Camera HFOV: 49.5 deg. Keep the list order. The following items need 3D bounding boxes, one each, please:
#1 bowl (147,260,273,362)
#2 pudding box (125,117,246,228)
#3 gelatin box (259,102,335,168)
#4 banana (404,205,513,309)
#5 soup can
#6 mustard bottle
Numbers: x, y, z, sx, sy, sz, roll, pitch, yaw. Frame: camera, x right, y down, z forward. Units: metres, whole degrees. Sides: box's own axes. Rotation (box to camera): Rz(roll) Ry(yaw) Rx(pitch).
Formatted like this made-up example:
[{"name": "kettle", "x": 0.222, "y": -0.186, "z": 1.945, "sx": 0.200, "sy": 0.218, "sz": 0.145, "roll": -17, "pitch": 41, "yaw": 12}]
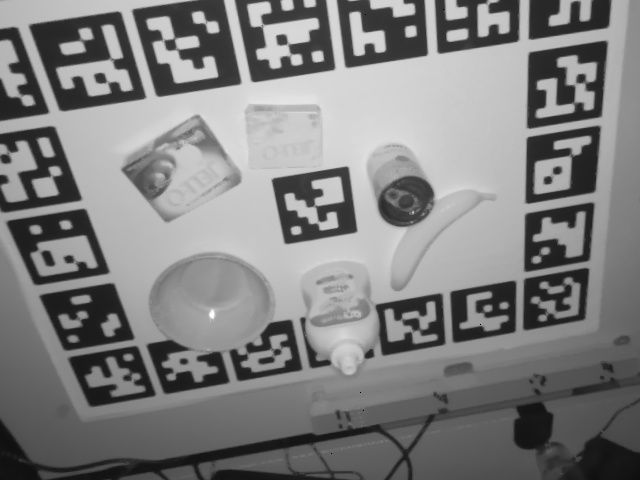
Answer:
[{"name": "bowl", "x": -0.144, "y": 0.083, "z": 0.922, "sx": 0.162, "sy": 0.055, "sz": 0.160, "roll": -4, "pitch": 121, "yaw": -5}, {"name": "pudding box", "x": -0.159, "y": -0.080, "z": 0.831, "sx": 0.113, "sy": 0.039, "sz": 0.090, "roll": -29, "pitch": 113, "yaw": 11}, {"name": "gelatin box", "x": -0.027, "y": -0.125, "z": 0.825, "sx": 0.090, "sy": 0.030, "sz": 0.072, "roll": -2, "pitch": 117, "yaw": -5}, {"name": "banana", "x": 0.168, "y": 0.018, "z": 0.924, "sx": 0.075, "sy": 0.039, "sz": 0.195, "roll": 26, "pitch": 115, "yaw": -30}, {"name": "soup can", "x": 0.117, "y": -0.051, "z": 0.831, "sx": 0.068, "sy": 0.103, "sz": 0.067, "roll": -2, "pitch": 122, "yaw": -2}, {"name": "mustard bottle", "x": 0.033, "y": 0.117, "z": 0.865, "sx": 0.096, "sy": 0.192, "sz": 0.058, "roll": -7, "pitch": 124, "yaw": 0}]
